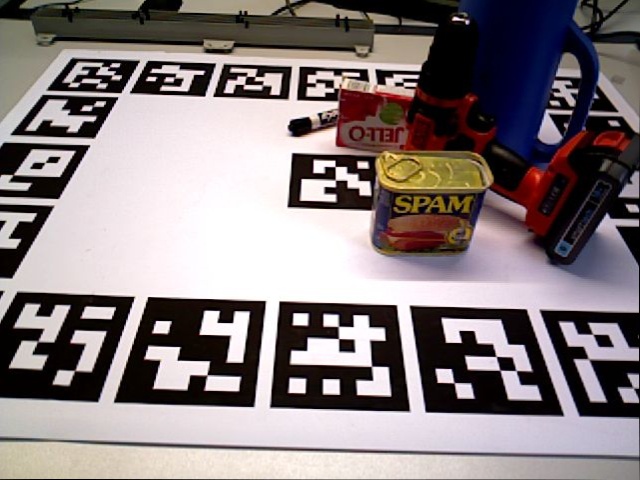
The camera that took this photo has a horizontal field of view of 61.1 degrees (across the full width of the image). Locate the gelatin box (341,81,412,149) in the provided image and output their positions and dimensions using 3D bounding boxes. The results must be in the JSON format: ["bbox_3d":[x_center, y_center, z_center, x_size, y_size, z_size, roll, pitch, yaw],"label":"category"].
[{"bbox_3d":[0.072,-0.142,0.622,0.089,0.075,0.029,11,49,6],"label":"gelatin box"}]

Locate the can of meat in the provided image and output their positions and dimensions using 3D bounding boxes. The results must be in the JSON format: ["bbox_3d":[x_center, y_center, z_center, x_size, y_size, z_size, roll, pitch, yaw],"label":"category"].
[{"bbox_3d":[0.098,-0.033,0.502,0.101,0.085,0.057,2,43,-2],"label":"can of meat"}]

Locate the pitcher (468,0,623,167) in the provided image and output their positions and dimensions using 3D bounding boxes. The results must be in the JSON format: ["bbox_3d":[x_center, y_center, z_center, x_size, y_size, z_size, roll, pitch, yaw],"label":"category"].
[{"bbox_3d":[0.219,-0.195,0.568,0.189,0.247,0.130,23,51,27],"label":"pitcher"}]

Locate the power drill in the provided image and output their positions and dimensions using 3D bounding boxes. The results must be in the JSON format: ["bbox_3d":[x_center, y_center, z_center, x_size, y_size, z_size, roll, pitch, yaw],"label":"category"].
[{"bbox_3d":[0.168,-0.108,0.513,0.187,0.189,0.056,32,54,19],"label":"power drill"}]

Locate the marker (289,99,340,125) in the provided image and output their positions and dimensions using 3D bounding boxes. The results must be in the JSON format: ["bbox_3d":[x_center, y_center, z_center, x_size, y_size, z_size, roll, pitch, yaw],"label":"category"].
[{"bbox_3d":[0.017,-0.165,0.677,0.119,0.020,0.019,-18,49,-18],"label":"marker"}]
